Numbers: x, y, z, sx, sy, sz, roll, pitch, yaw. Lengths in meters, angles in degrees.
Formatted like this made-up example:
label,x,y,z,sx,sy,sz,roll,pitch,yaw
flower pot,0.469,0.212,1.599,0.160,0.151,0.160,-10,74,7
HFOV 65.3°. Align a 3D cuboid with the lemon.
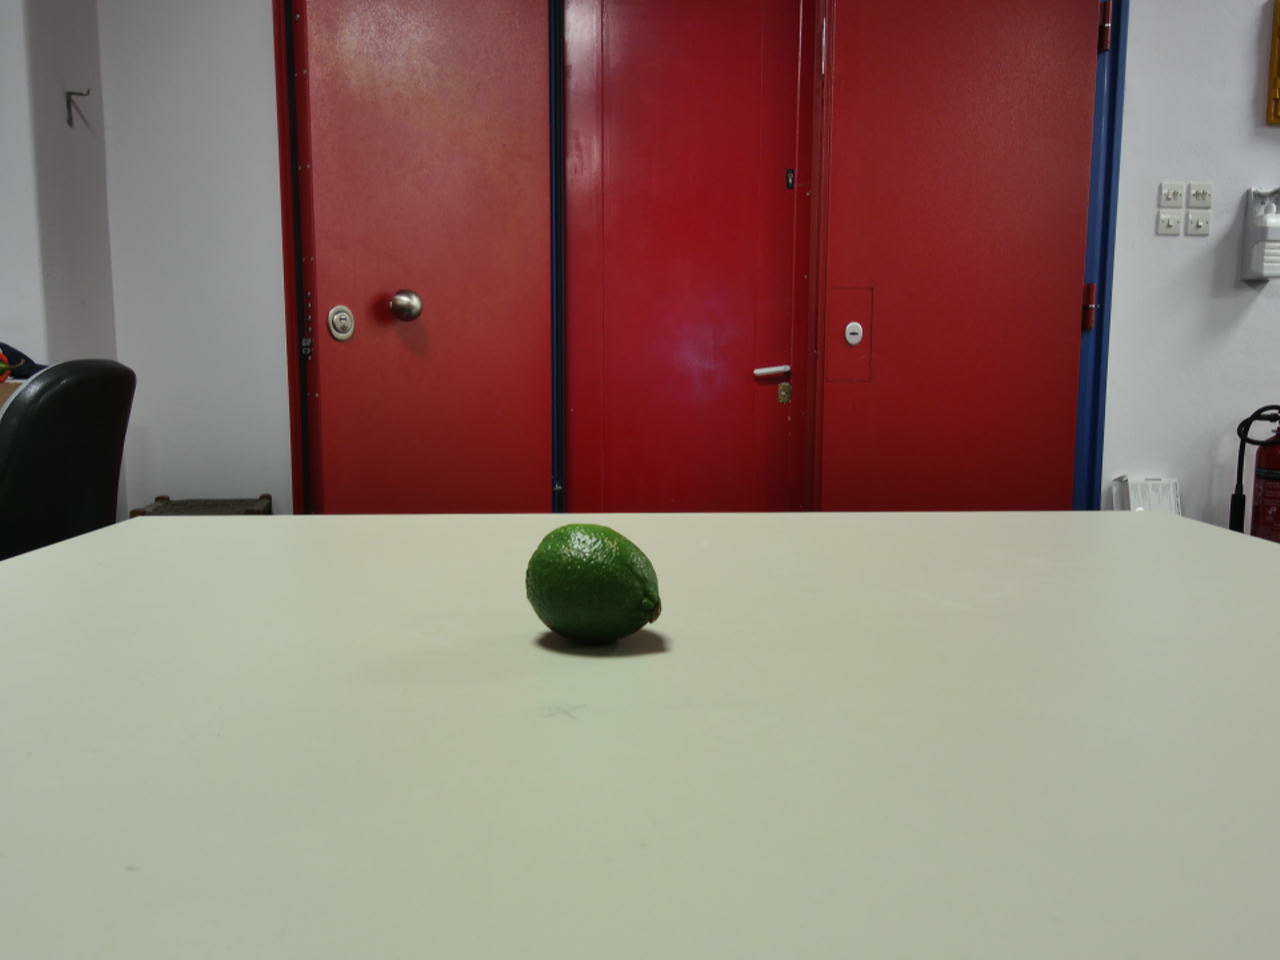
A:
label,x,y,z,sx,sy,sz,roll,pitch,yaw
lemon,-0.021,0.045,0.436,0.057,0.051,0.054,-1,4,-4
